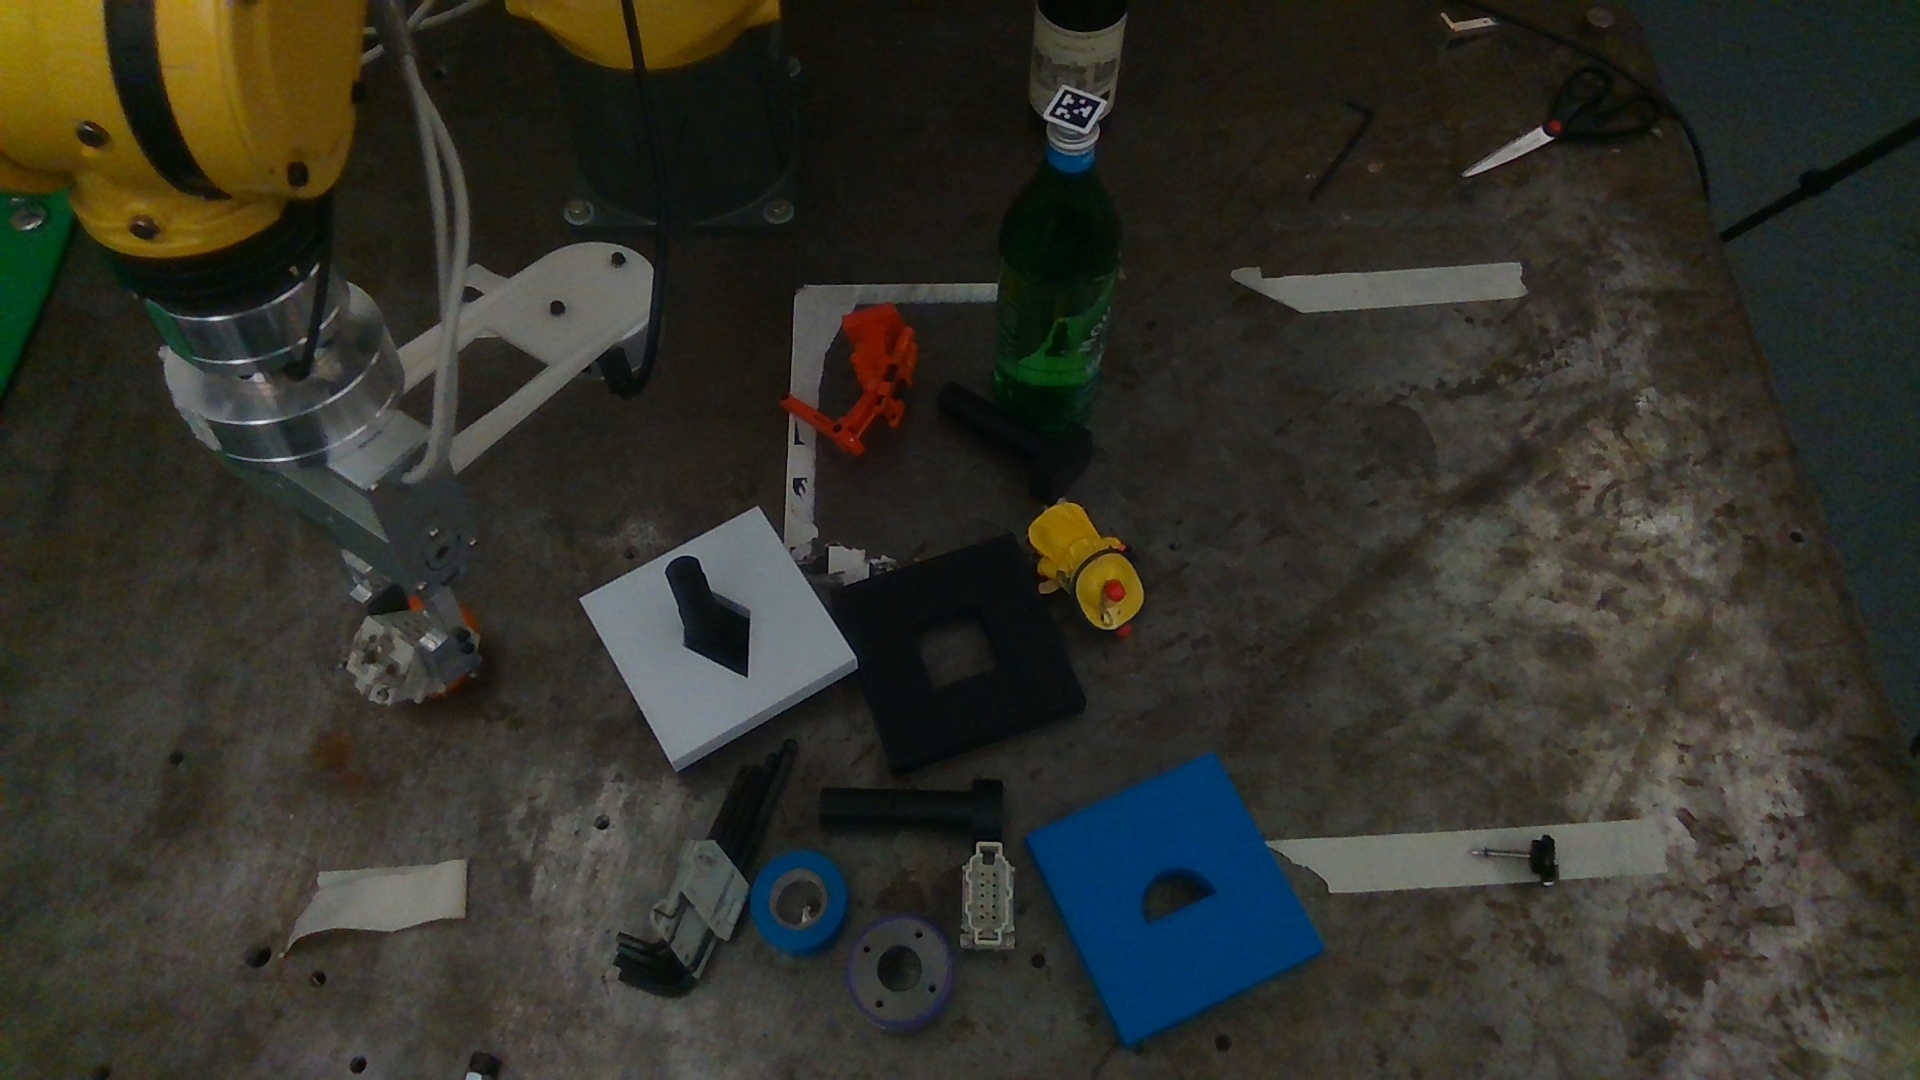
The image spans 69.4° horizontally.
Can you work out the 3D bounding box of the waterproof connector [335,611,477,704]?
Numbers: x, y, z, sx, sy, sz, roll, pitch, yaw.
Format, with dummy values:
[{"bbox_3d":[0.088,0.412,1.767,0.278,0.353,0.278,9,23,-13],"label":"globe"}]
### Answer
[{"bbox_3d":[-0.286,0.062,0.721,0.037,0.069,0.038,27,103,22],"label":"waterproof connector"}]
